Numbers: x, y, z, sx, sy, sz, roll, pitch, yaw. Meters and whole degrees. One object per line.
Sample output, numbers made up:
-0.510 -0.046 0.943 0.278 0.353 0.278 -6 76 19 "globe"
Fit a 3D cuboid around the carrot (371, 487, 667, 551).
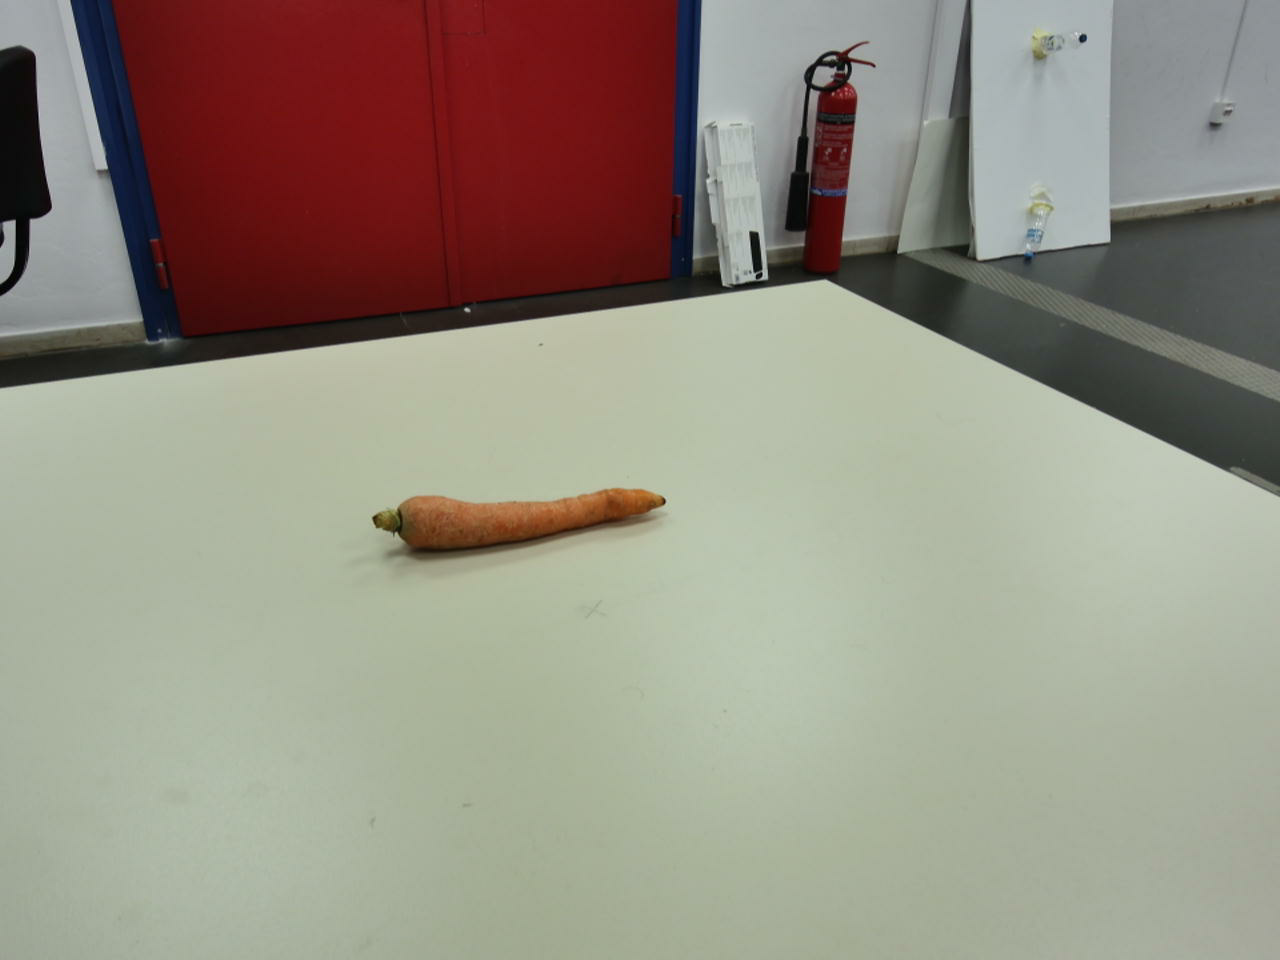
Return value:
-0.065 0.018 0.574 0.173 0.032 0.030 -6 27 -14 "carrot"
